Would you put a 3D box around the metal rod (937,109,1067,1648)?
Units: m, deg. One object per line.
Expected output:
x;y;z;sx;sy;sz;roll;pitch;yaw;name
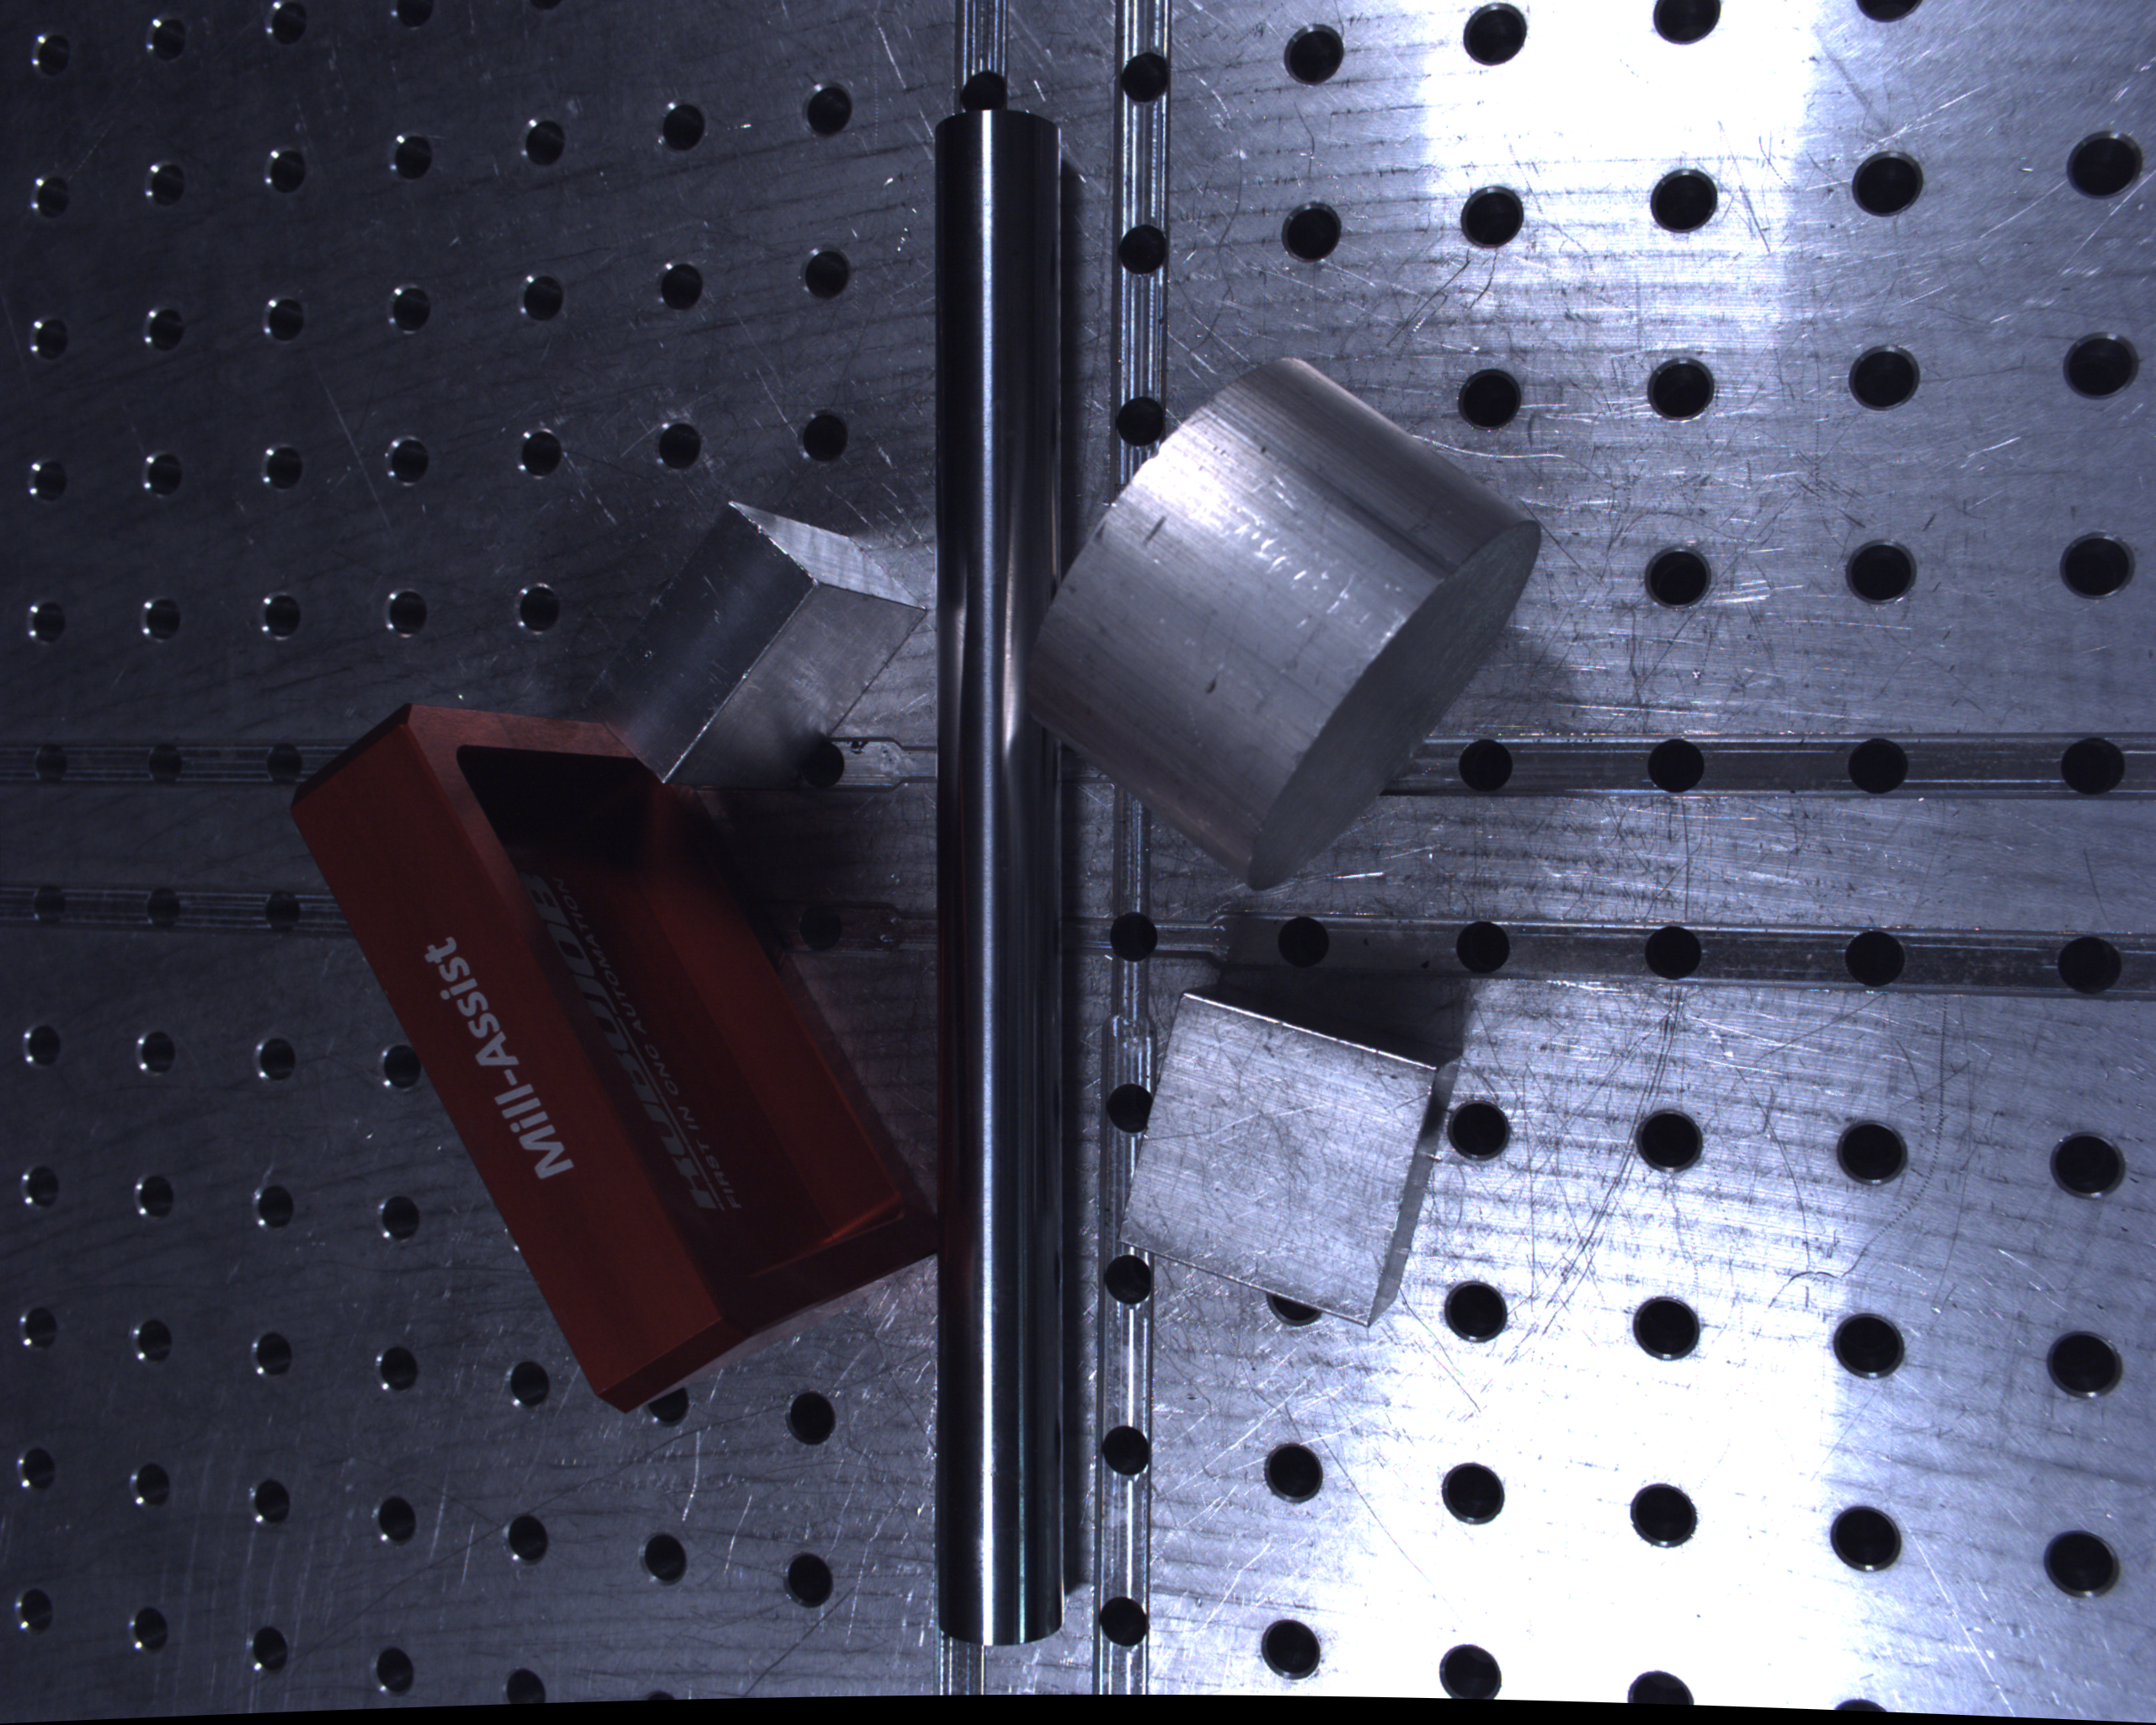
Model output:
-0.015;0.003;0.416;0.025;0.025;0.298;0;90;19;metal rod

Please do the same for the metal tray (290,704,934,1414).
-0.086;0.033;0.406;0.030;0.090;0.130;-34;79;17;metal tray

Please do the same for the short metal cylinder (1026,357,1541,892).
0.036;-0.041;0.370;0.050;0.080;0.080;39;102;15;short metal cylinder

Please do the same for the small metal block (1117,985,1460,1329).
0.041;0.055;0.398;0.050;0.025;0.050;16;95;19;small metal block

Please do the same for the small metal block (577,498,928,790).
-0.064;-0.042;0.420;0.025;0.050;0.050;43;103;14;small metal block
